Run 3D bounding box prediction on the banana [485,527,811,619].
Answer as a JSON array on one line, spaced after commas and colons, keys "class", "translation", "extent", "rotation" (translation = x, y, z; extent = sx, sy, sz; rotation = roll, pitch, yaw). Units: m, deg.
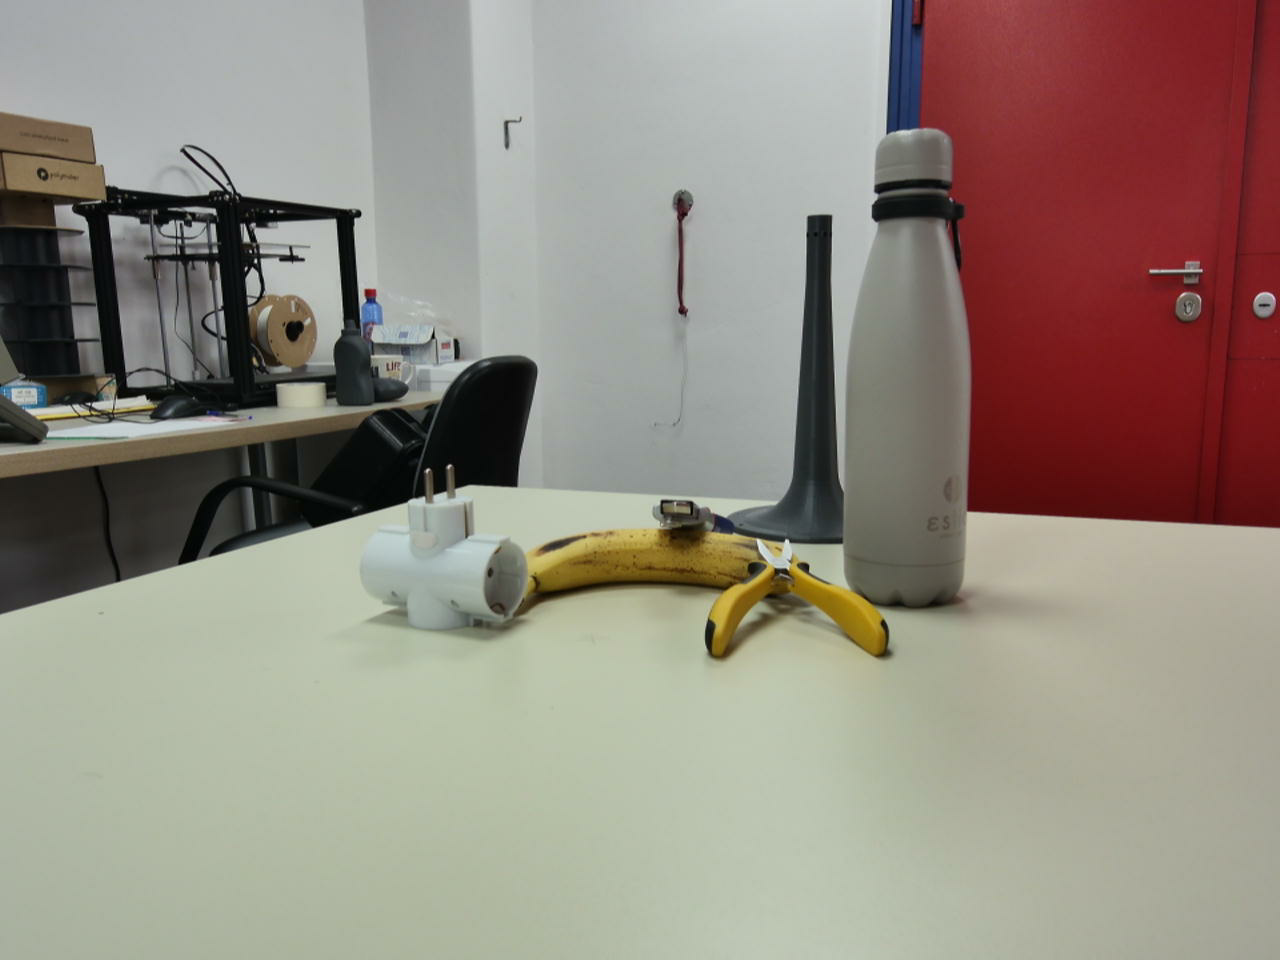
[{"class": "banana", "translation": [0.005, 0.055, 0.628], "extent": [0.186, 0.038, 0.097], "rotation": [0, 7, -4]}]
